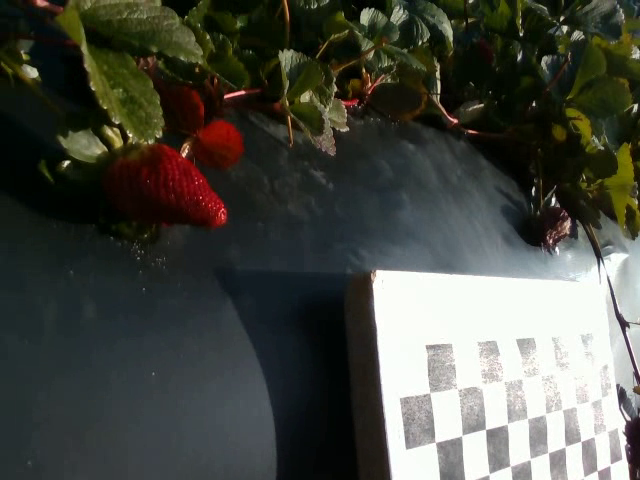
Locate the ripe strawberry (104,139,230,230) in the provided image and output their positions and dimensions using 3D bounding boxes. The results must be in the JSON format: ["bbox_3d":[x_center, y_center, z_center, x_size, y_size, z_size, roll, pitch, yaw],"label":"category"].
[{"bbox_3d":[-0.060,-0.018,0.252,0.056,0.041,0.041,25,-33,10],"label":"ripe strawberry"}]
